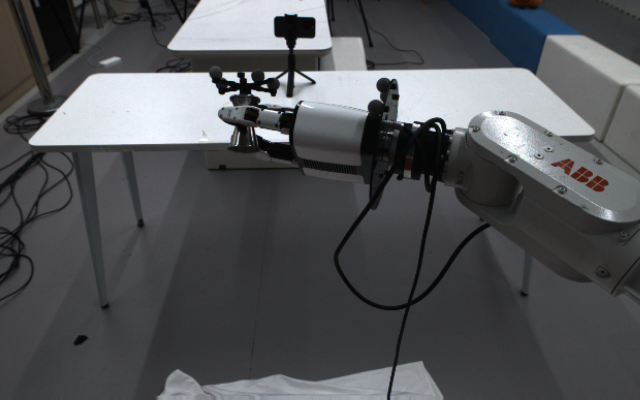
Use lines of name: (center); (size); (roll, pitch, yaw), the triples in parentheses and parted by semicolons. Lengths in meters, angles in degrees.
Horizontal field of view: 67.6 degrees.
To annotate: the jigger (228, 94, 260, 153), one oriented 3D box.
jigger: (-0.099, -0.098, 0.630); (0.043, 0.071, 0.043); (0, -5, 0)
